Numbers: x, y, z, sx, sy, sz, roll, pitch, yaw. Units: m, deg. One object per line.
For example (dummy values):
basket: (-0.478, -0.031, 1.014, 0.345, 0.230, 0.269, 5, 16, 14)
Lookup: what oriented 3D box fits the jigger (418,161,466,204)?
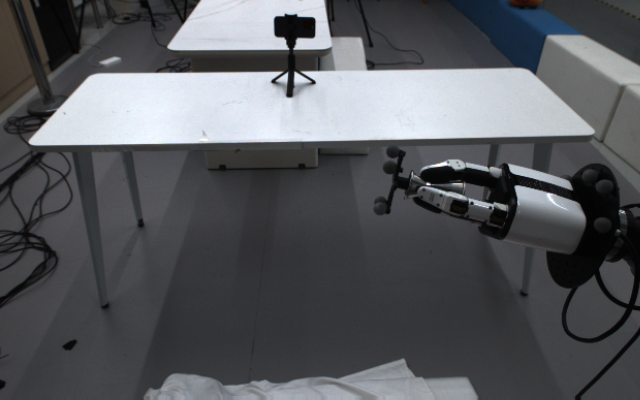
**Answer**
jigger: (0.151, -0.014, 0.617, 0.071, 0.043, 0.043, 14, 36, 4)
